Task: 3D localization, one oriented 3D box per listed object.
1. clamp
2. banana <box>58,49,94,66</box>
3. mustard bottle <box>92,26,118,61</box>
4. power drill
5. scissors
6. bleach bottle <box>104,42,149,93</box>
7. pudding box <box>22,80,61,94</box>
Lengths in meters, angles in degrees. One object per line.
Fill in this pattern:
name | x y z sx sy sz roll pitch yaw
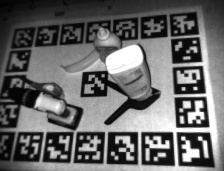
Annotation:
clamp | 0.055 0.015 0.734 0.202 0.037 0.165 -9 71 7
banana | -0.118 -0.132 0.829 0.197 0.039 0.073 -40 51 -4
mustard bottle | -0.027 -0.146 0.745 0.095 0.193 0.058 10 73 15
power drill | -0.216 0.062 0.675 0.183 0.189 0.057 9 66 18
scissors | -0.278 -0.016 0.729 0.201 0.016 0.088 22 81 13
bleach bottle | 0.067 -0.037 0.636 0.102 0.254 0.067 -24 63 11
pudding box | -0.256 0.012 0.785 0.113 0.091 0.038 1 64 12
